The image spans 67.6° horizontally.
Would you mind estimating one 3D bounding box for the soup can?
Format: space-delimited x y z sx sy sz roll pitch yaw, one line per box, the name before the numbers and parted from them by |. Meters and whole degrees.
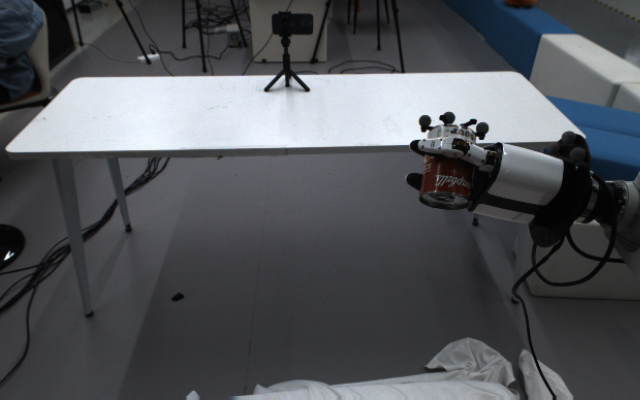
soup can | 0.177 -0.045 0.664 0.067 0.067 0.101 8 72 9
